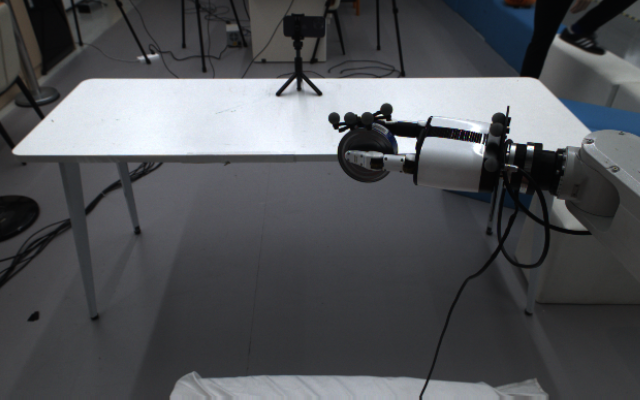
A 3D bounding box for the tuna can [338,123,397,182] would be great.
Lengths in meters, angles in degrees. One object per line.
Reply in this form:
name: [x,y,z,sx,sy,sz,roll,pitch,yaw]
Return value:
tuna can: [0.072,-0.071,0.718,0.085,0.085,0.034,13,29,15]
